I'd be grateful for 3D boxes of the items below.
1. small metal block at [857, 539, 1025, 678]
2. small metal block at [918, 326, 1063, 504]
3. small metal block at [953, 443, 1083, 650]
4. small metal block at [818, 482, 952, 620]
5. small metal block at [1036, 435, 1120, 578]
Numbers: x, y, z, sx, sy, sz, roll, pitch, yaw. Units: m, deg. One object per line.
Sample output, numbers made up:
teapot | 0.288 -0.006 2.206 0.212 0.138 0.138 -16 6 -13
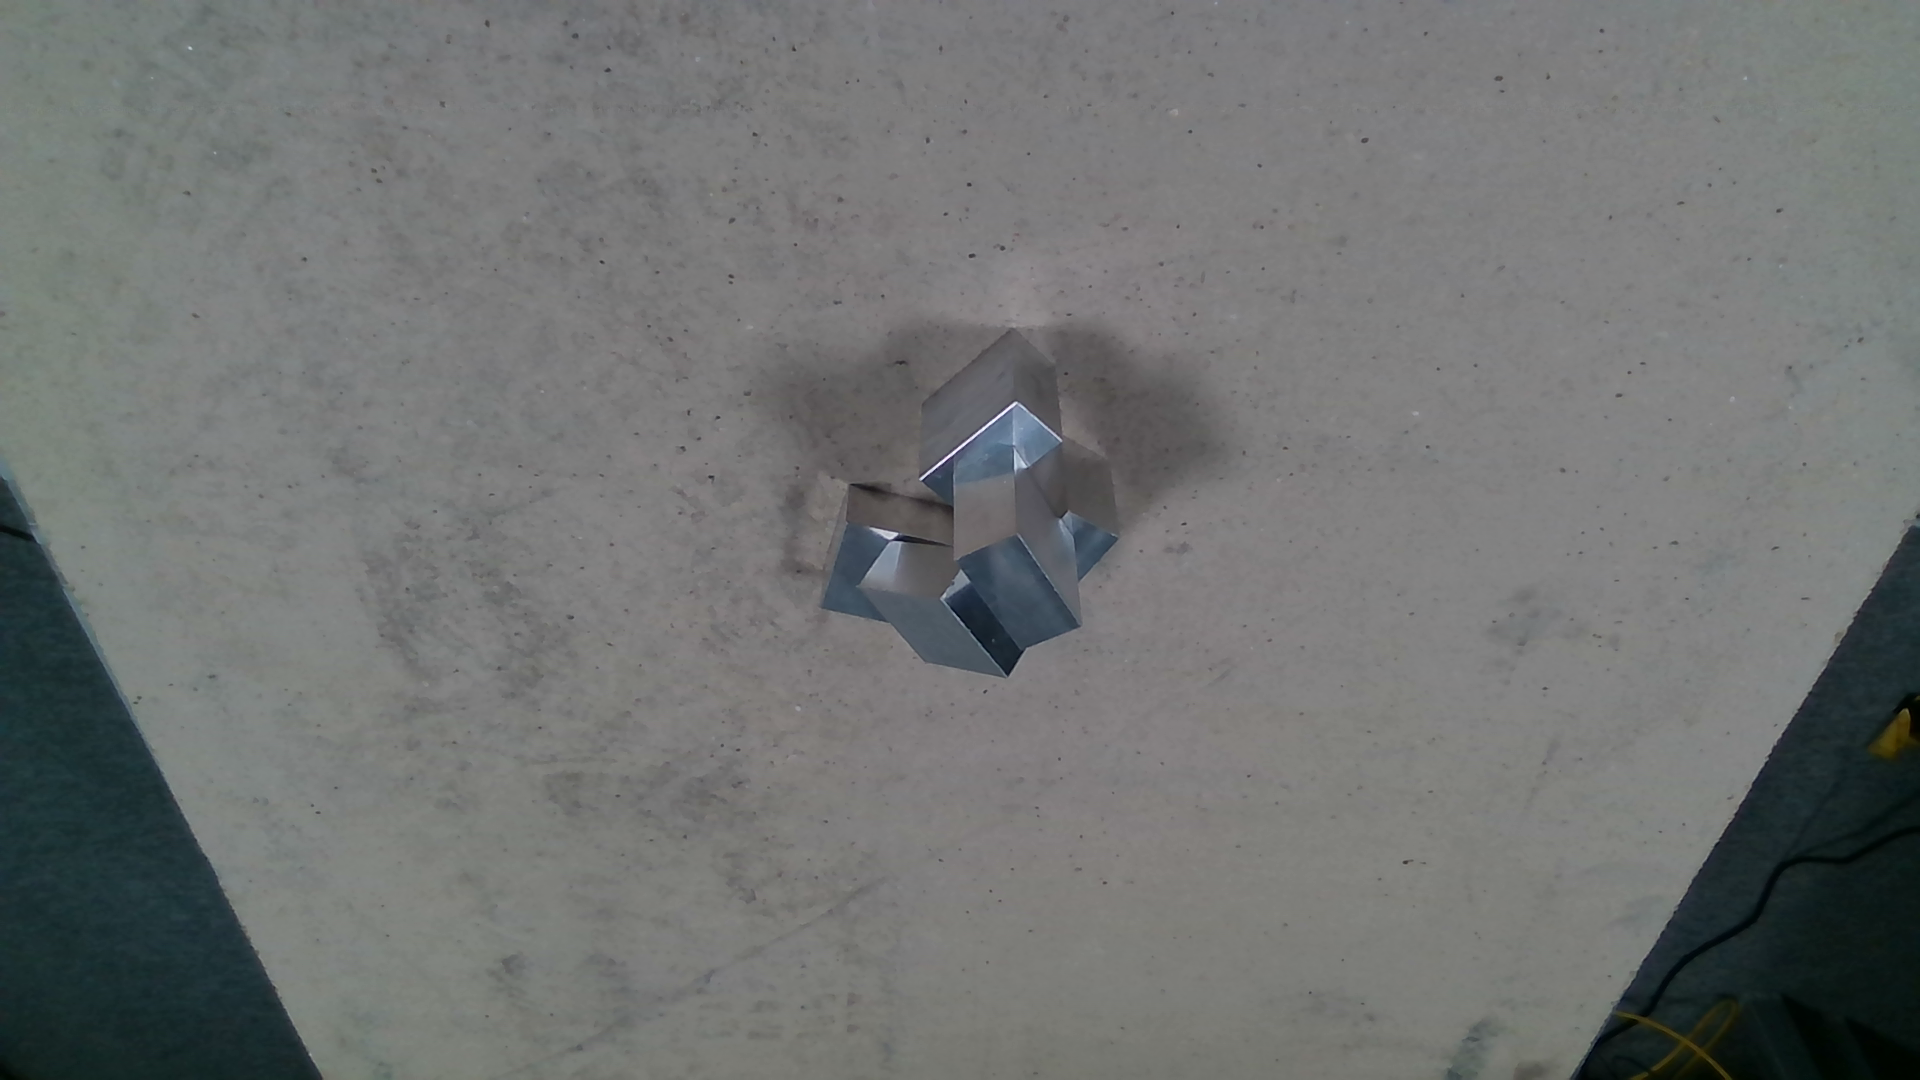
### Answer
small metal block | -0.005 0.027 0.553 0.050 0.025 0.050 6 143 47
small metal block | 0.011 -0.046 0.525 0.050 0.050 0.025 -37 121 27
small metal block | 0.021 0.002 0.500 0.025 0.050 0.050 -23 126 18
small metal block | -0.030 0.008 0.586 0.050 0.025 0.050 12 129 -10
small metal block | 0.038 -0.006 0.558 0.025 0.050 0.050 26 125 -20
